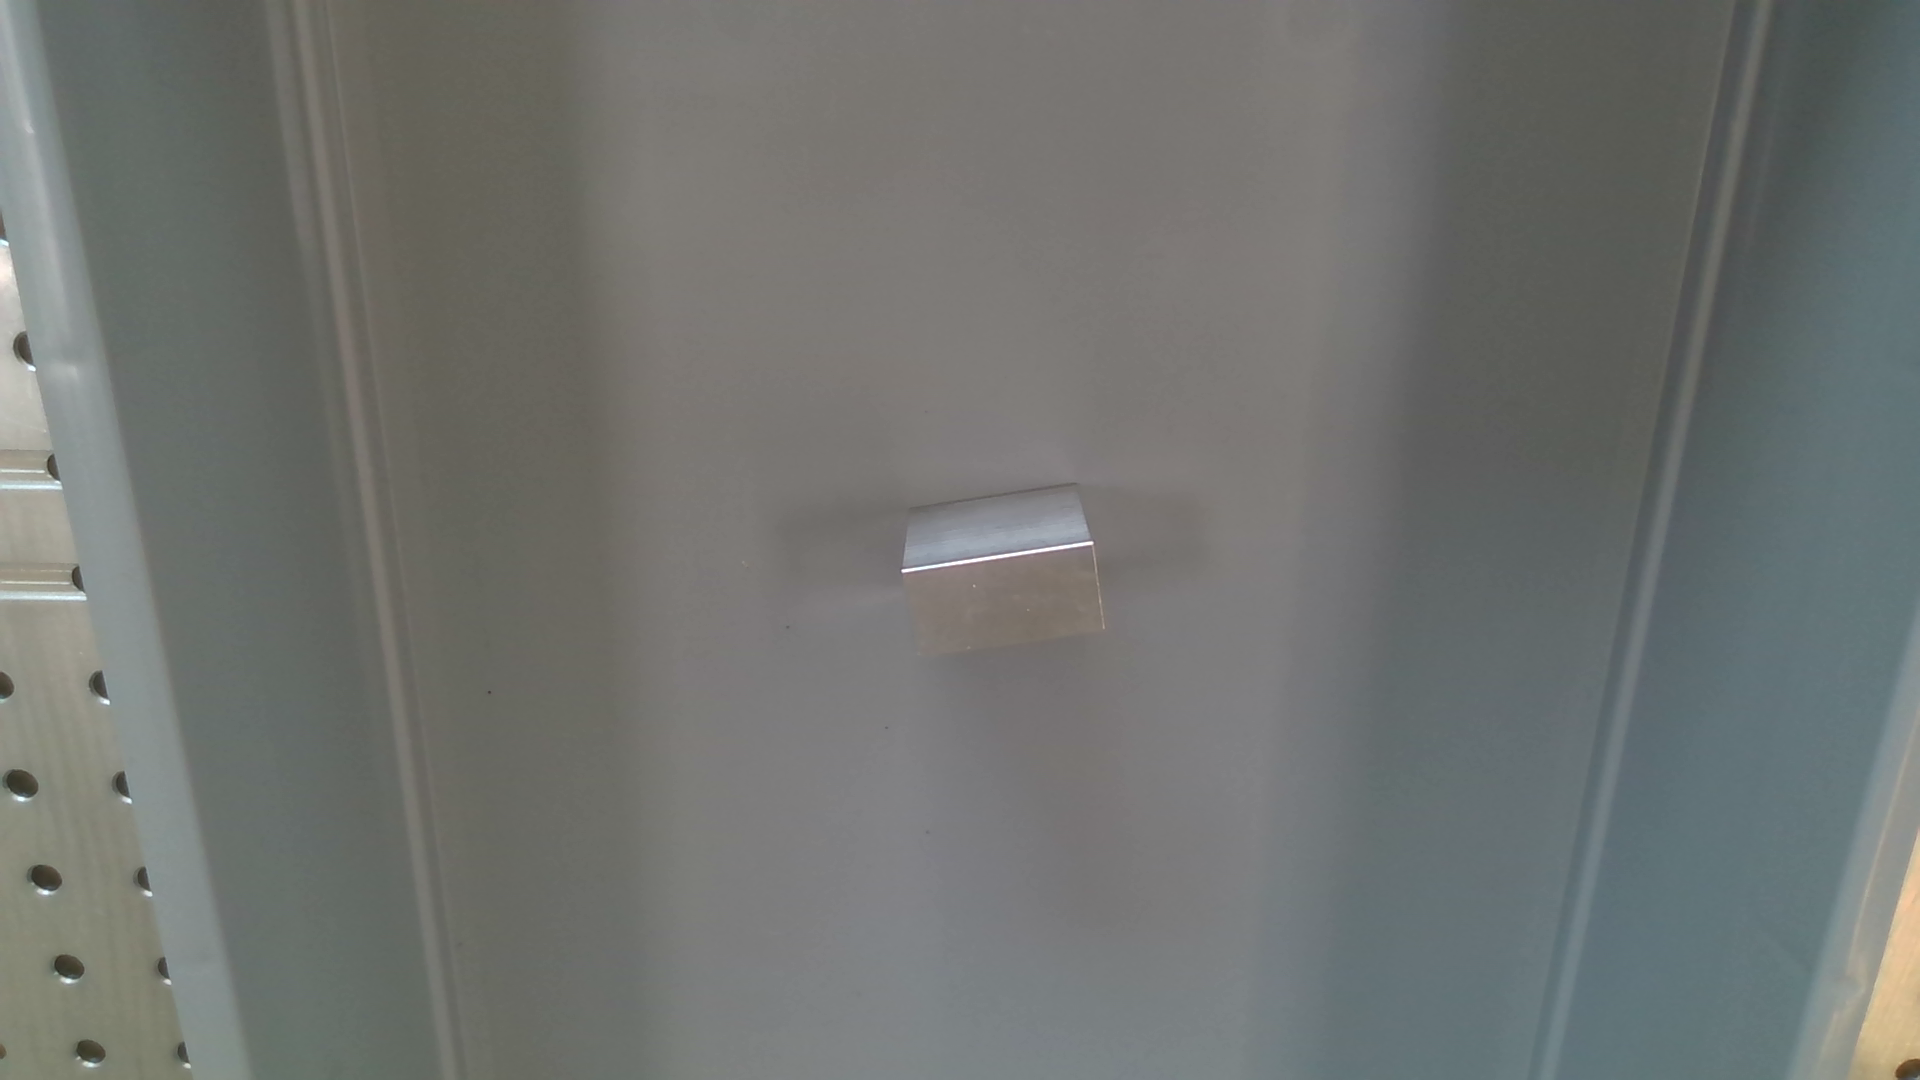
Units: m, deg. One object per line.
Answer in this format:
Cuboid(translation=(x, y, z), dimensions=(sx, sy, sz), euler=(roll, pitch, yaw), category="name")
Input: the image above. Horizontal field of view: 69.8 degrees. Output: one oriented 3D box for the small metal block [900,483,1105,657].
Cuboid(translation=(0.011, 0.007, 0.379), dimensions=(0.050, 0.050, 0.025), euler=(-9, 110, 2), category="small metal block")
